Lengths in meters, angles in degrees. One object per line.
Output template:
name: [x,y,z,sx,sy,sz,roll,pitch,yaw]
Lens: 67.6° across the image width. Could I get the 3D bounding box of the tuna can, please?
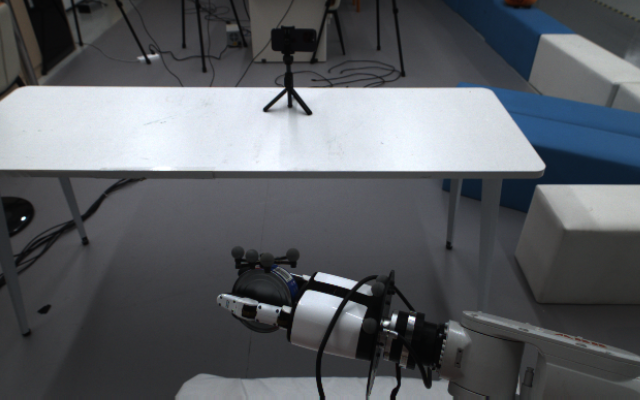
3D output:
tuna can: [-0.069,0.129,0.637,0.085,0.085,0.034,15,10,18]
